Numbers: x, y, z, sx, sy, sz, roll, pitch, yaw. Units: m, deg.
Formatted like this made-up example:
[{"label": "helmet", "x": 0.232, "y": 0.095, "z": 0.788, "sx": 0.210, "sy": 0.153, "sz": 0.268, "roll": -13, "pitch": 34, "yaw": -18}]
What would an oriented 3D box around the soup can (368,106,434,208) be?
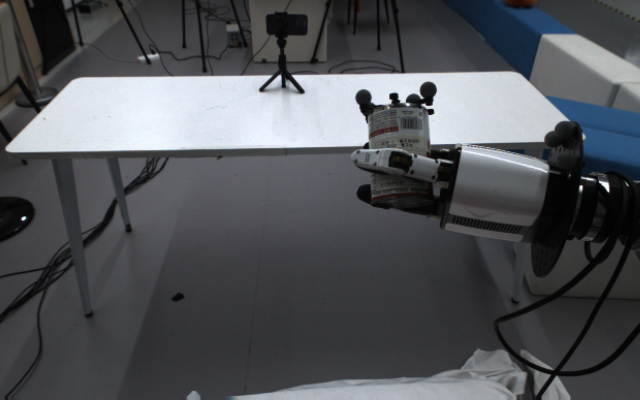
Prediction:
[{"label": "soup can", "x": 0.089, "y": -0.045, "z": 0.524, "sx": 0.067, "sy": 0.101, "sz": 0.067, "roll": -1, "pitch": -9, "yaw": 0}]
